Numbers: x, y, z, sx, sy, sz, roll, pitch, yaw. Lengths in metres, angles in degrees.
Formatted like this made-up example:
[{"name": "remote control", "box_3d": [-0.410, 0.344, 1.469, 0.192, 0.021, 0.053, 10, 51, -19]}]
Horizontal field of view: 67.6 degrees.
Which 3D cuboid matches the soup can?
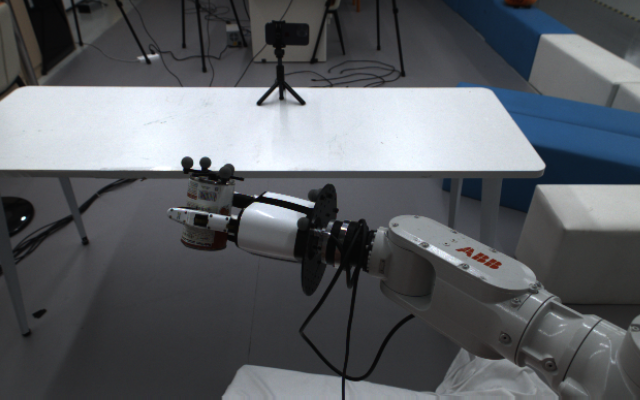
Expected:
[{"name": "soup can", "box_3d": [-0.164, 0.018, 0.712, 0.067, 0.101, 0.067, 10, 9, -2]}]
